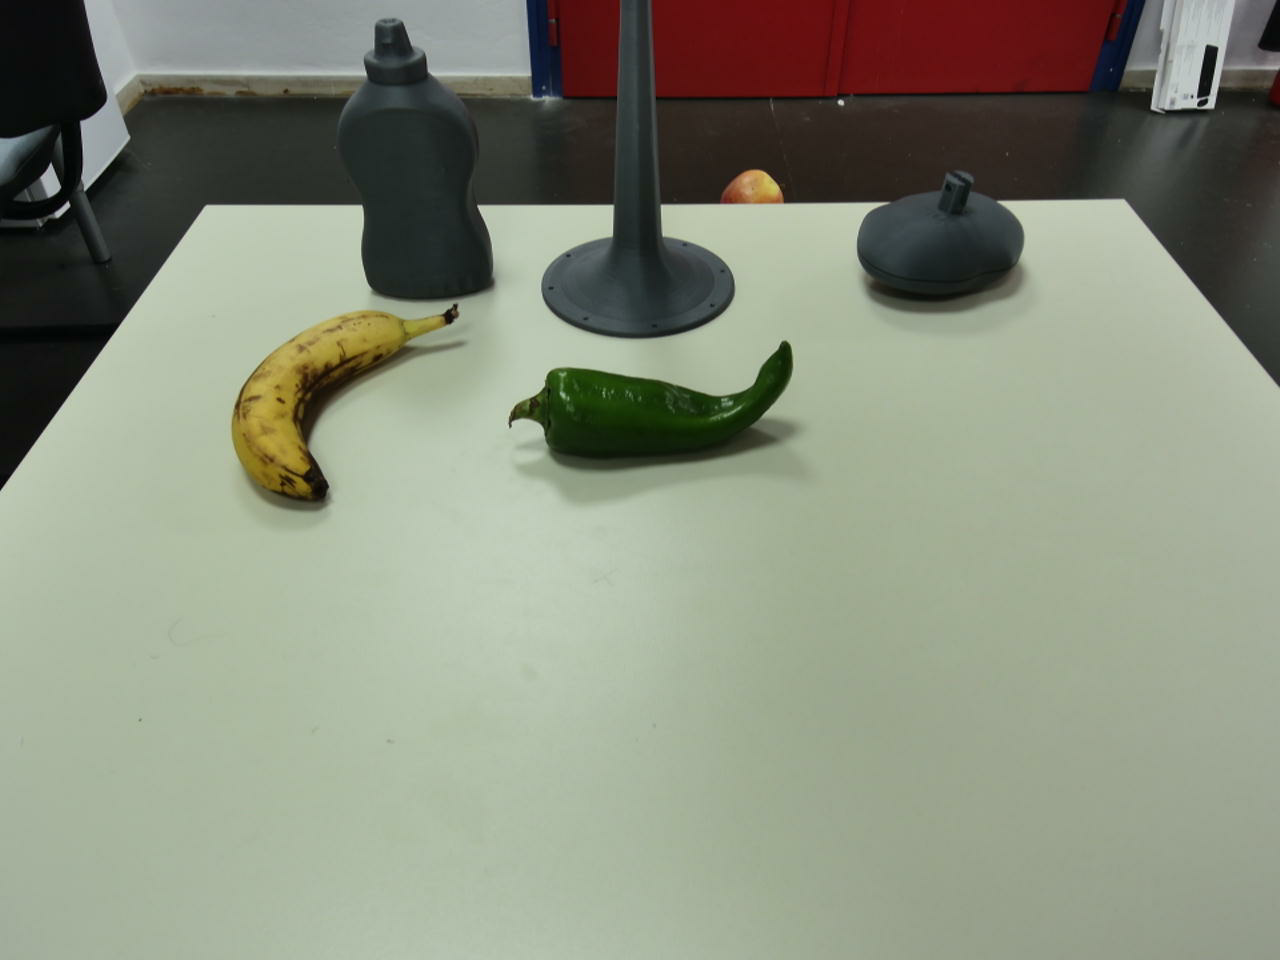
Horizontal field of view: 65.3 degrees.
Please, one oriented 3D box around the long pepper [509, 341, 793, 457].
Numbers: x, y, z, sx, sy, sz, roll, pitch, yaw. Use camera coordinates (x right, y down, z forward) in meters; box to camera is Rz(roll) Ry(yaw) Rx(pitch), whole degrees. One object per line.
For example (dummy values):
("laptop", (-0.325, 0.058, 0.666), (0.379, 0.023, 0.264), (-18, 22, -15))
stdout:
("long pepper", (0.007, -0.049, 0.609), (0.175, 0.065, 0.058), (-1, 39, -1))
